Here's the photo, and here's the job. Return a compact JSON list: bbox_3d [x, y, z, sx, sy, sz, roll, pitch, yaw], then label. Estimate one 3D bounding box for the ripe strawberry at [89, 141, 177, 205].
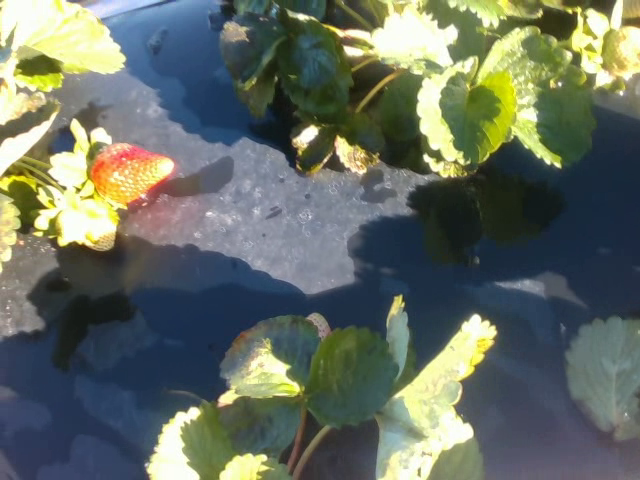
[{"bbox_3d":[-0.125,-0.047,0.414,0.064,0.050,0.052,-9,10,12],"label":"ripe strawberry"}]
